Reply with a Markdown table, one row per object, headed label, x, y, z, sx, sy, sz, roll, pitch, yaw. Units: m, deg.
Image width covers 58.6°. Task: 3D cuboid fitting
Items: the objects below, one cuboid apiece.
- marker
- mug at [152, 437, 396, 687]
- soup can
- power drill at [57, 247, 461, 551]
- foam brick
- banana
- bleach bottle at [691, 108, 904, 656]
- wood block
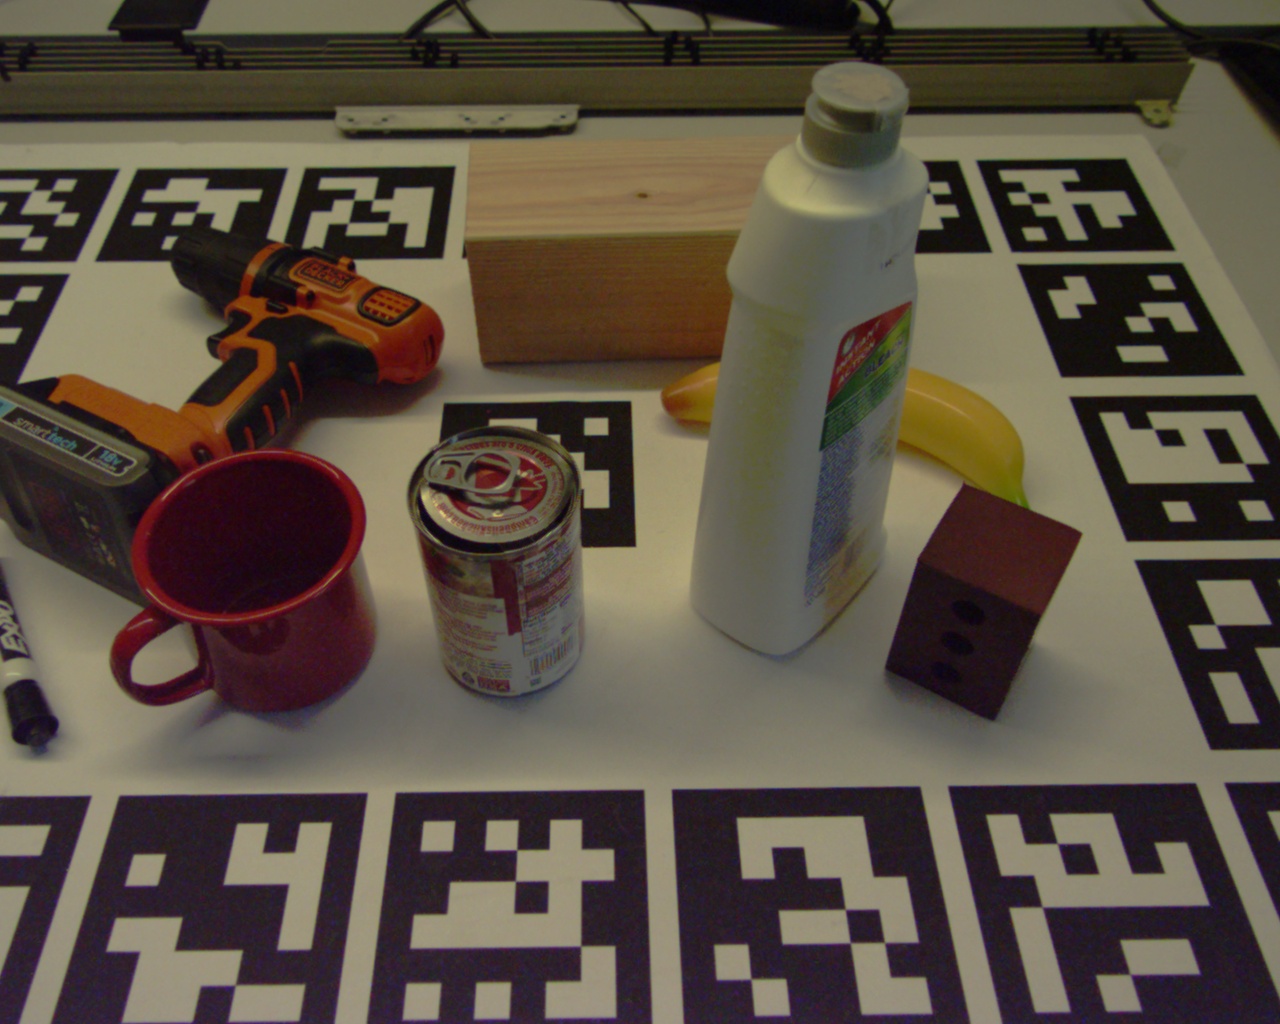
| label | x | y | z | sx | sy | sz | roll | pitch | yaw |
| --- | --- | --- | --- | --- | --- | --- | --- | --- | --- |
| marker | -0.281 | 0.059 | 0.535 | 0.019 | 0.019 | 0.122 | -26 | 55 | -19 |
| mug | -0.165 | 0.034 | 0.513 | 0.094 | 0.081 | 0.116 | 36 | 61 | 24 |
| soup can | -0.056 | 0.019 | 0.506 | 0.068 | 0.102 | 0.068 | 1 | 45 | -2 |
| power drill | -0.217 | -0.065 | 0.622 | 0.186 | 0.057 | 0.186 | 24 | 52 | 15 |
| foam brick | 0.147 | 0.042 | 0.514 | 0.053 | 0.078 | 0.051 | 25 | 51 | 22 |
| banana | 0.098 | -0.061 | 0.623 | 0.198 | 0.039 | 0.074 | 13 | 64 | 8 |
| bleach bottle | 0.069 | -0.050 | 0.477 | 0.068 | 0.250 | 0.102 | 22 | 51 | 18 |
| wood block | 0.015 | -0.142 | 0.664 | 0.206 | 0.090 | 0.090 | -1 | 50 | -2 |
